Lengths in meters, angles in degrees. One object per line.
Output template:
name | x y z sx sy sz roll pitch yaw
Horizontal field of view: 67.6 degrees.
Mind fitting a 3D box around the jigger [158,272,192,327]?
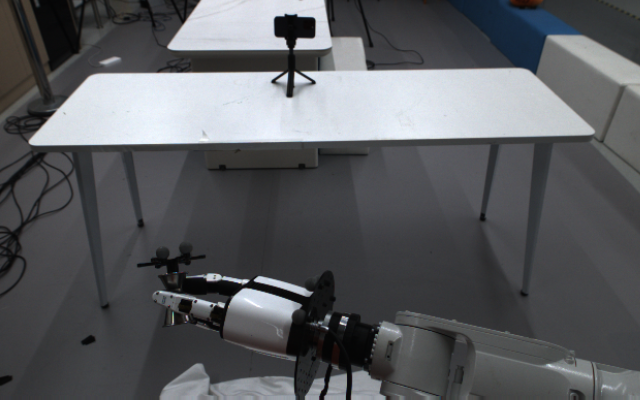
jigger | -0.191 0.132 0.649 0.043 0.043 0.071 -8 79 -14
